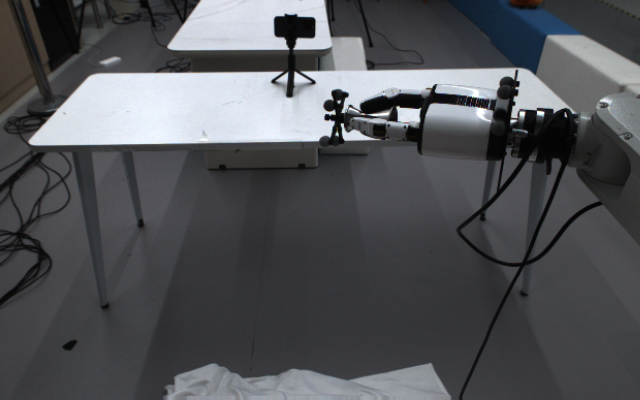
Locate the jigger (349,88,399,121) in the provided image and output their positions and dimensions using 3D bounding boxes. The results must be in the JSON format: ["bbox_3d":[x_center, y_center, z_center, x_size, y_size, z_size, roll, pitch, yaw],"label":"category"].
[{"bbox_3d":[0.078,-0.119,0.695,0.071,0.043,0.043,8,34,23],"label":"jigger"}]
